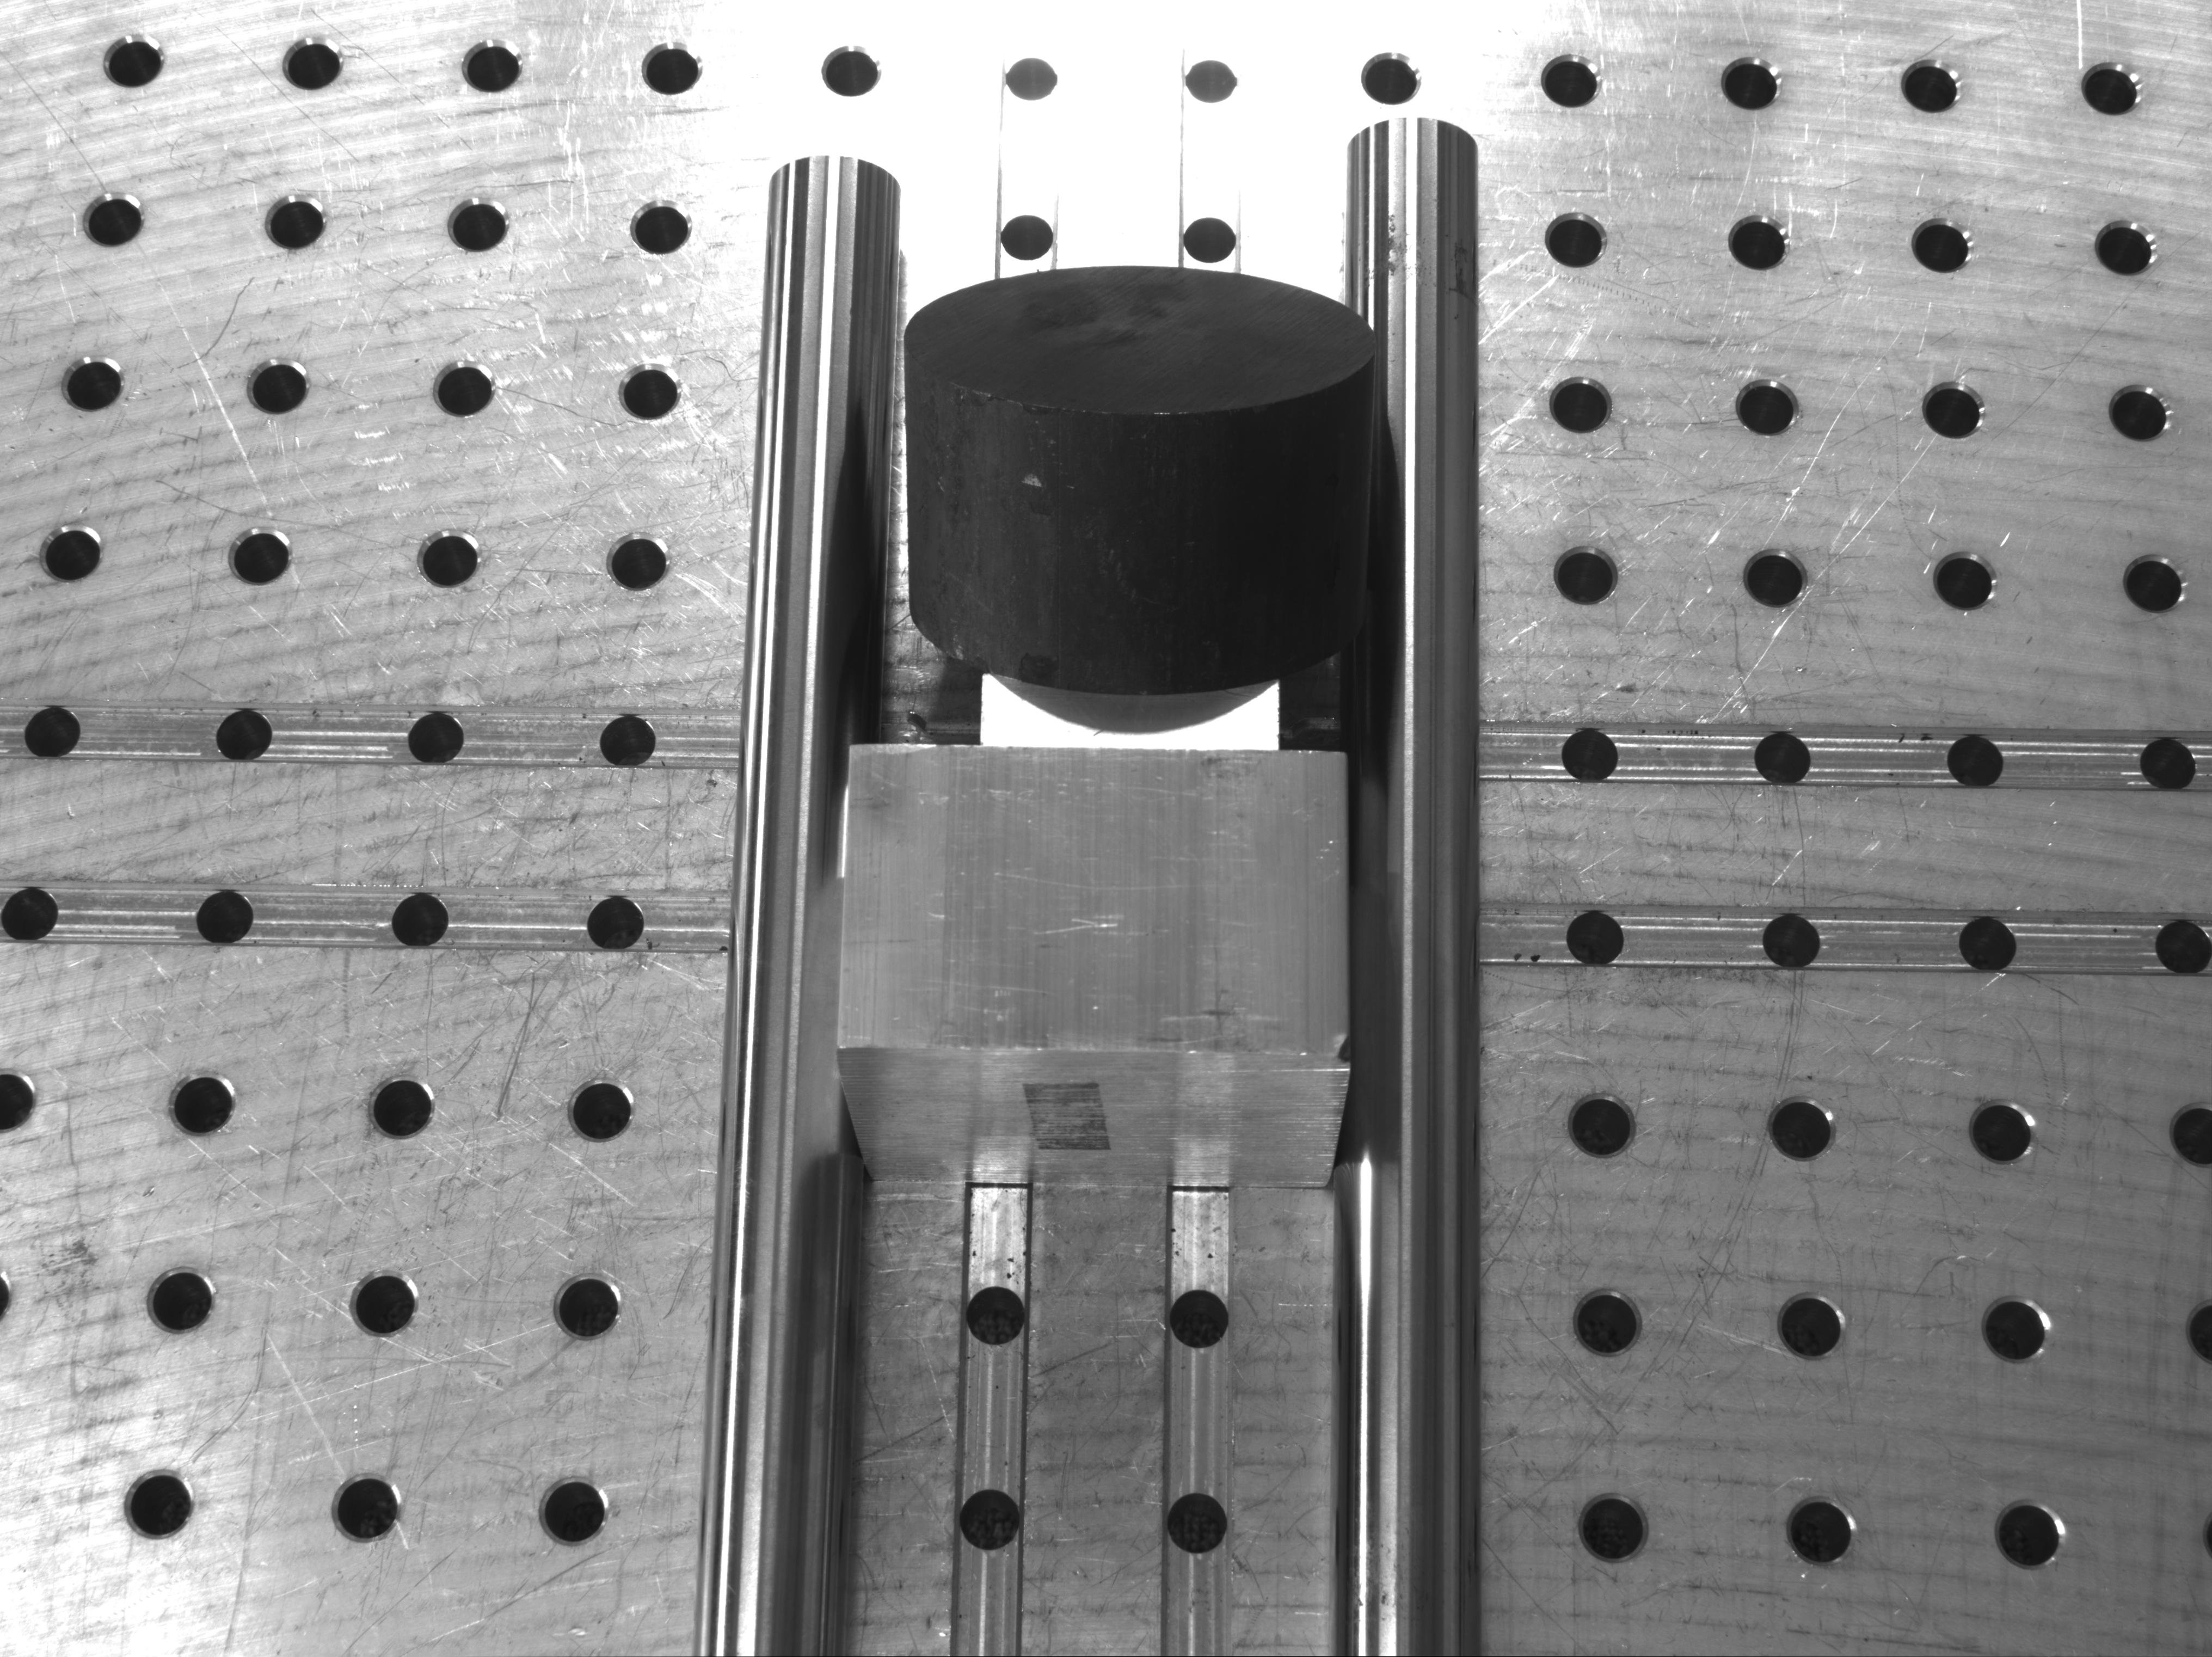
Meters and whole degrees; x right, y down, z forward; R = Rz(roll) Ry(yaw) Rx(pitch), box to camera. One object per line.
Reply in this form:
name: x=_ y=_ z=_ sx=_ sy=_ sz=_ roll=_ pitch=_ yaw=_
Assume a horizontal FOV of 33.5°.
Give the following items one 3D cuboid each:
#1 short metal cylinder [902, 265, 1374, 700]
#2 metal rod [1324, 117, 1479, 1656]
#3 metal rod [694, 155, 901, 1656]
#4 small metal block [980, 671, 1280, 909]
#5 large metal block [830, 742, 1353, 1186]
short metal cylinder: x=0.005 y=-0.061 z=0.634 sx=0.080 sy=0.050 sz=0.080 roll=1 pitch=26 yaw=0
metal rod: x=0.053 y=0.013 z=0.643 sx=0.025 sy=0.025 sz=0.300 roll=2 pitch=70 yaw=1
metal rod: x=-0.053 y=0.020 z=0.640 sx=0.025 sy=0.025 sz=0.300 roll=1 pitch=70 yaw=0
small metal block: x=0.004 y=-0.005 z=0.637 sx=0.050 sy=0.050 sz=0.025 roll=2 pitch=70 yaw=0
large metal block: x=-0.002 y=0.024 z=0.607 sx=0.080 sy=0.080 sz=0.050 roll=1 pitch=70 yaw=0
